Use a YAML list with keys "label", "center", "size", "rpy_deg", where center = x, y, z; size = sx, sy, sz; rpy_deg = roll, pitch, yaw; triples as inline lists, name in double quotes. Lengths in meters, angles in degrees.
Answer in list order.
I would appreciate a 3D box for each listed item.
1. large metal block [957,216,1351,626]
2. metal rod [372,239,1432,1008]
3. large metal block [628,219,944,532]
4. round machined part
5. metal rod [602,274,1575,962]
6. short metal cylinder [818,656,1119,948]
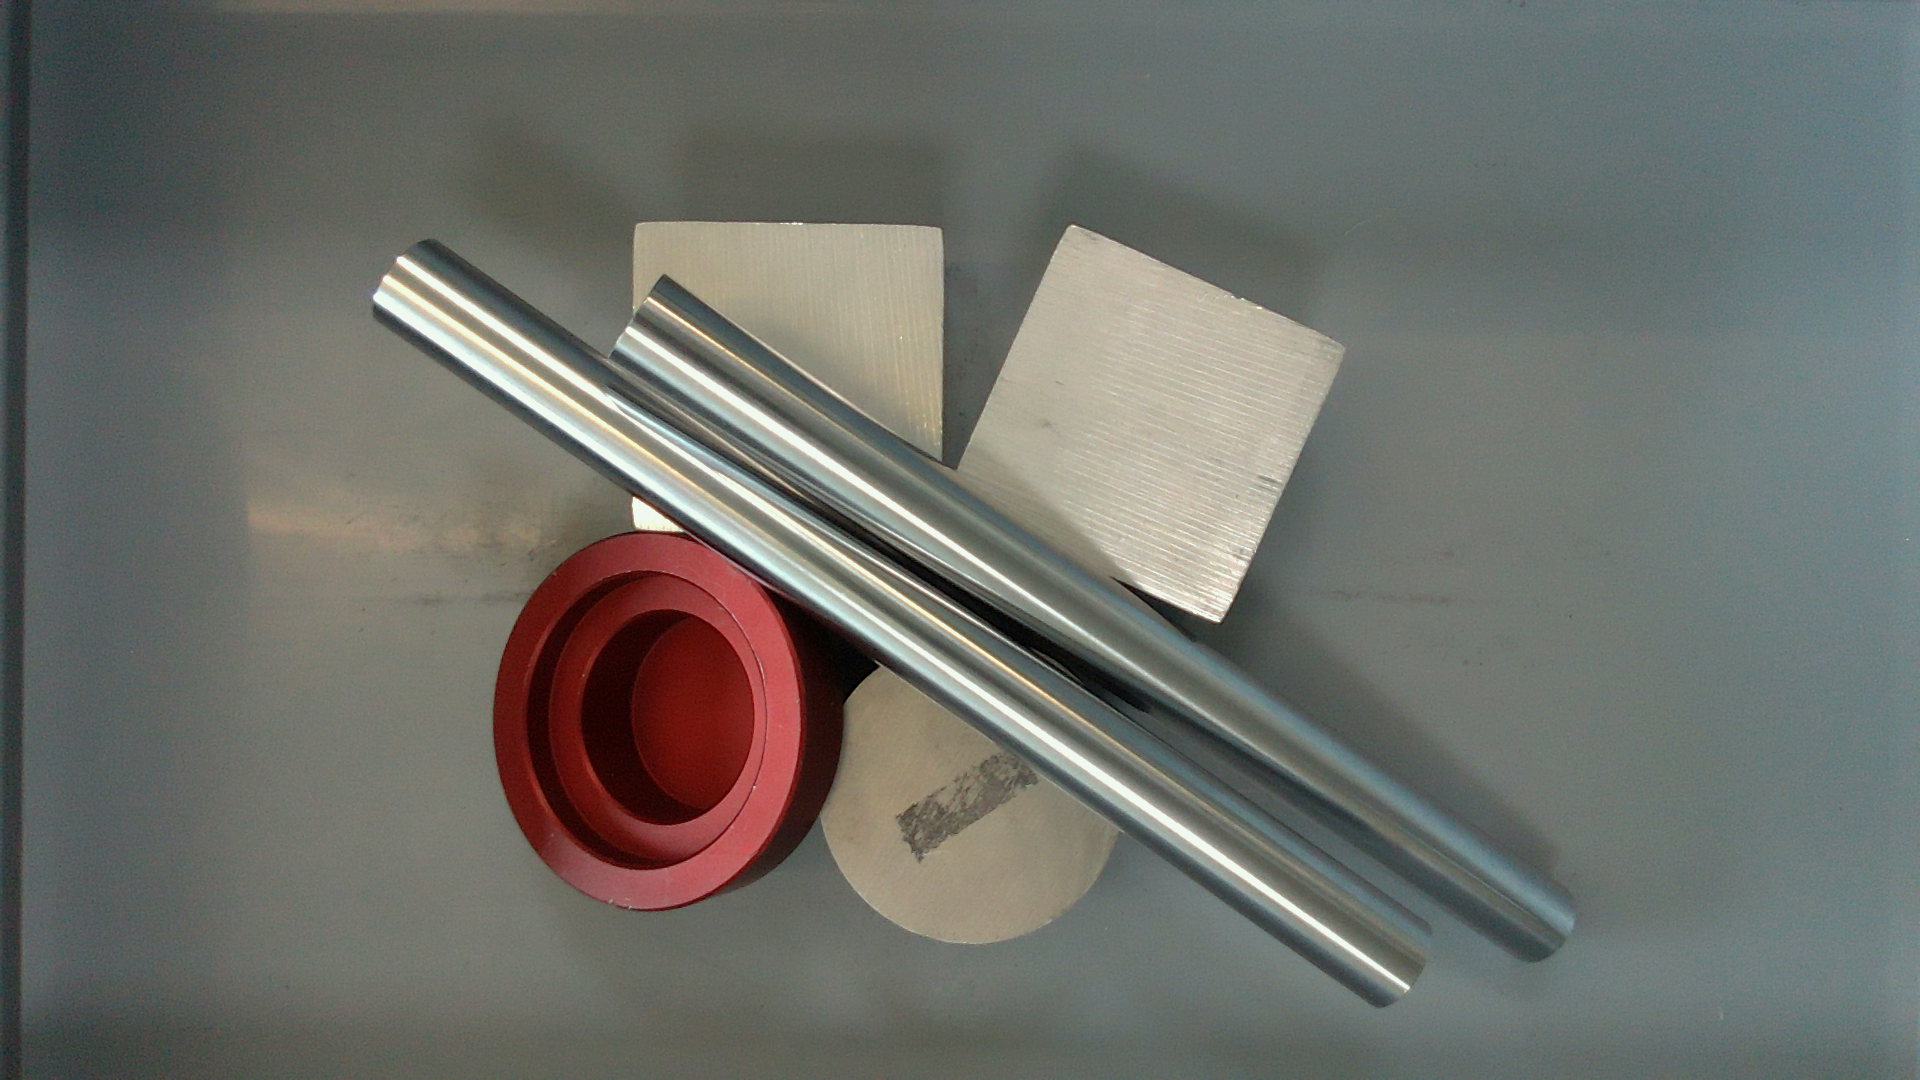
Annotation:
- label: "large metal block"
  center: [0.048, -0.031, 0.381]
  size: [0.080, 0.050, 0.080]
  rpy_deg: [24, 90, 0]
- label: "metal rod"
  center: [-0.013, 0.021, 0.343]
  size: [0.300, 0.025, 0.025]
  rpy_deg: [35, 90, -1]
- label: "large metal block"
  center: [-0.045, -0.042, 0.378]
  size: [0.080, 0.050, 0.080]
  rpy_deg: [1, 90, 0]
- label: "round machined part"
  center: [-0.075, 0.048, 0.374]
  size: [0.098, 0.042, 0.098]
  rpy_deg: [-1, 86, 23]
- label: "metal rod"
  center: [0.045, 0.029, 0.357]
  size: [0.300, 0.025, 0.025]
  rpy_deg: [34, 90, -15]
- label: "short metal cylinder"
  center: [0.003, 0.066, 0.381]
  size: [0.080, 0.050, 0.080]
  rpy_deg: [0, 90, 0]
